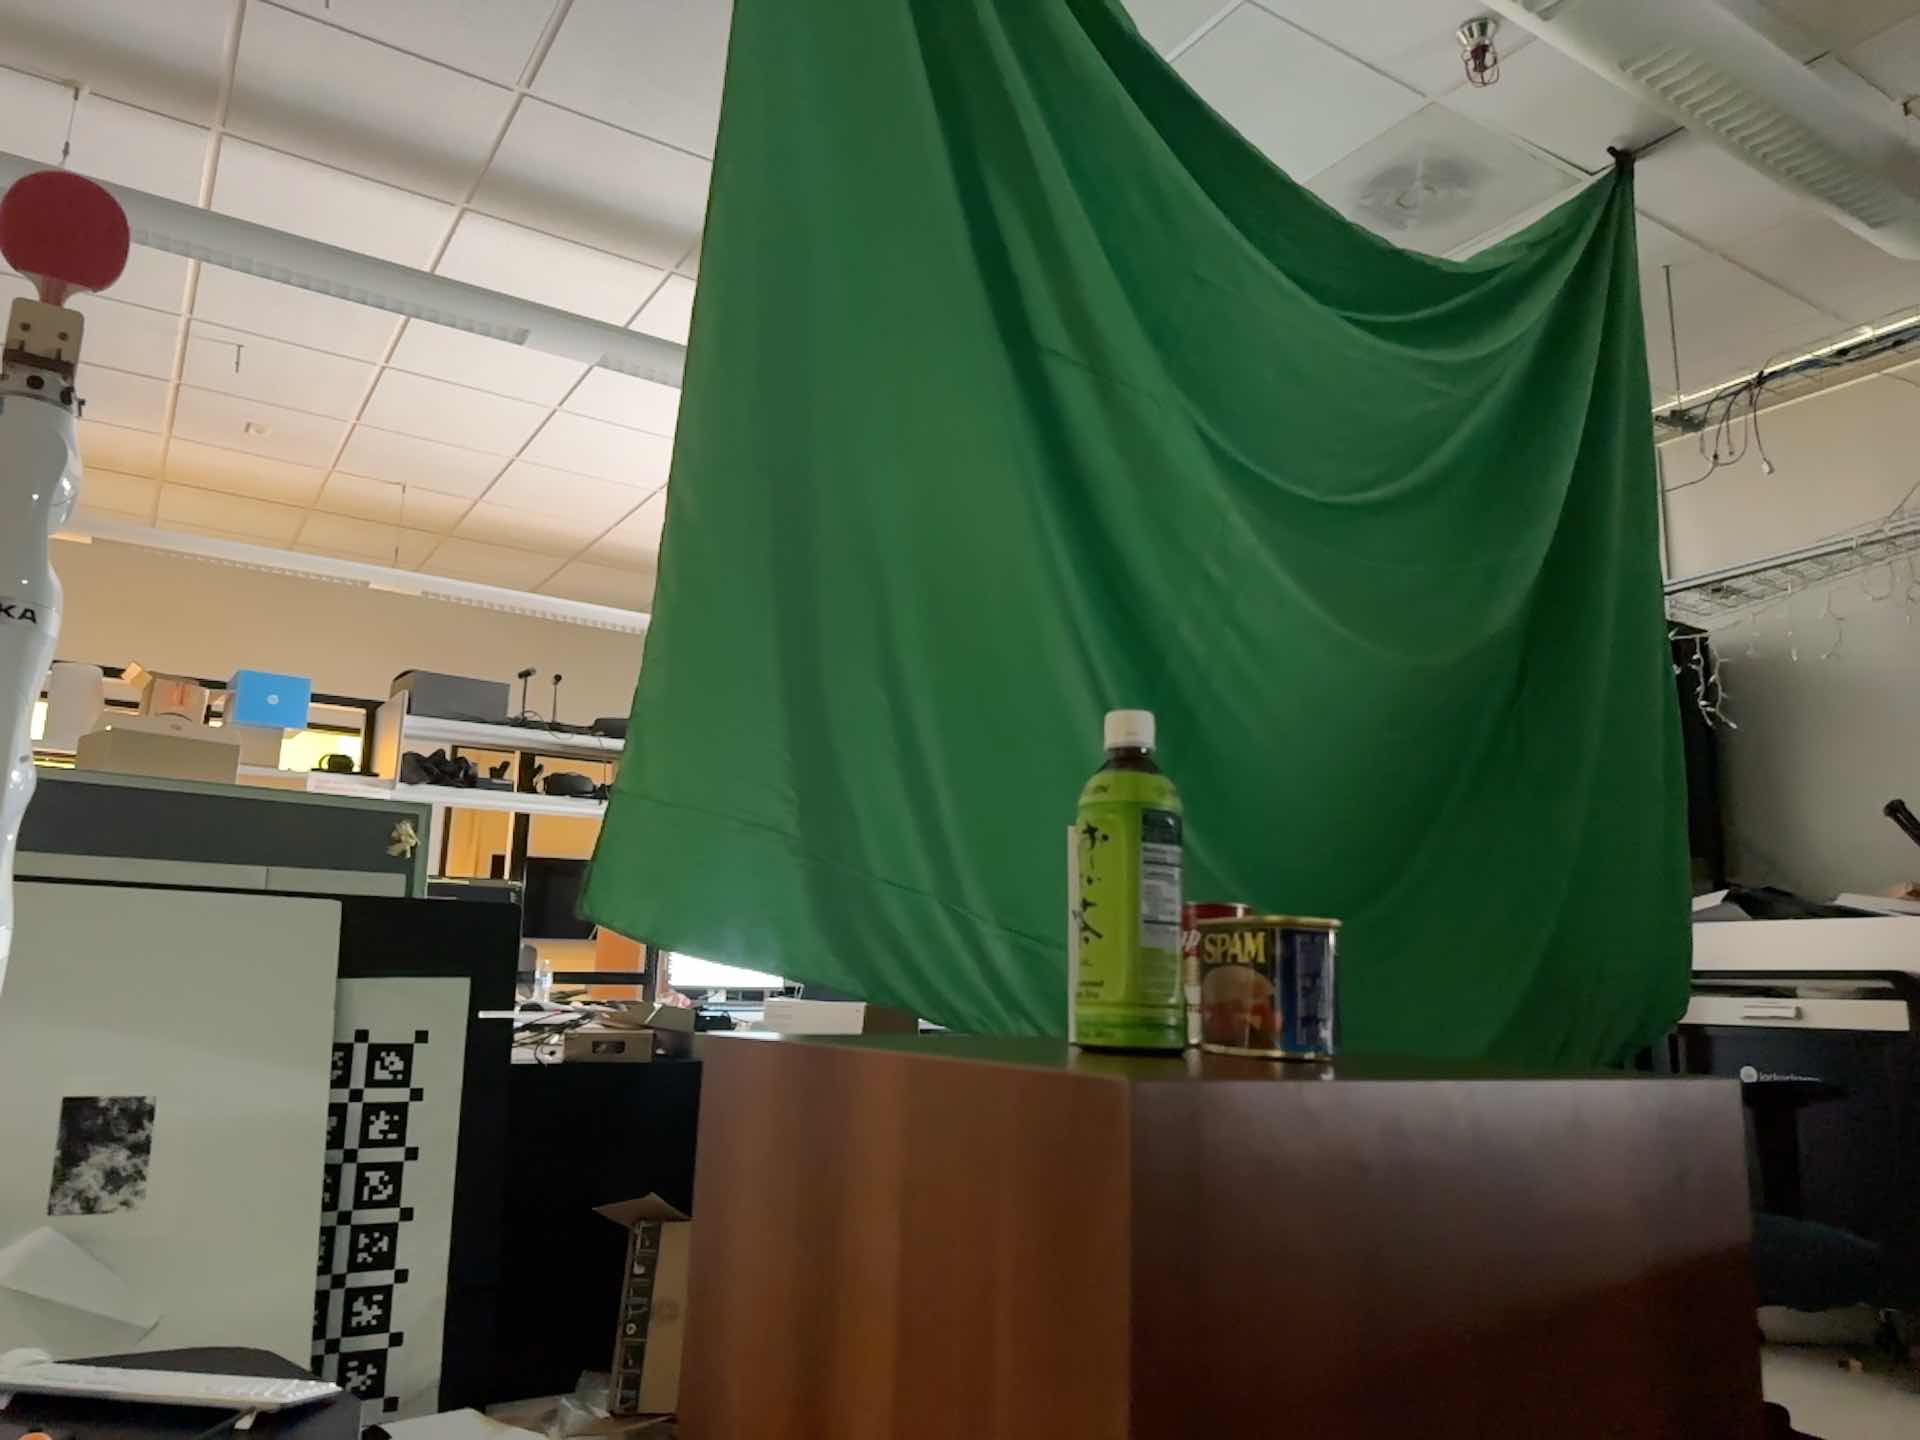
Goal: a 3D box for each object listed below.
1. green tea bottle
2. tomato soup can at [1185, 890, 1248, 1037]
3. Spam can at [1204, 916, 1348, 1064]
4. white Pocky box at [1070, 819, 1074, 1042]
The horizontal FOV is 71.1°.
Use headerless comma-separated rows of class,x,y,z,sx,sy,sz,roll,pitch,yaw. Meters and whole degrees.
green tea bottle,0.102,0.094,0.822,0.073,0.212,0.073,0,-11,0
tomato soup can,0.173,0.175,0.973,0.067,0.102,0.067,2,-7,0
Spam can,0.194,0.165,0.833,0.056,0.083,0.100,4,-9,-17
white Pocky box,0.095,0.146,0.948,0.028,0.154,0.084,-1,-8,10
